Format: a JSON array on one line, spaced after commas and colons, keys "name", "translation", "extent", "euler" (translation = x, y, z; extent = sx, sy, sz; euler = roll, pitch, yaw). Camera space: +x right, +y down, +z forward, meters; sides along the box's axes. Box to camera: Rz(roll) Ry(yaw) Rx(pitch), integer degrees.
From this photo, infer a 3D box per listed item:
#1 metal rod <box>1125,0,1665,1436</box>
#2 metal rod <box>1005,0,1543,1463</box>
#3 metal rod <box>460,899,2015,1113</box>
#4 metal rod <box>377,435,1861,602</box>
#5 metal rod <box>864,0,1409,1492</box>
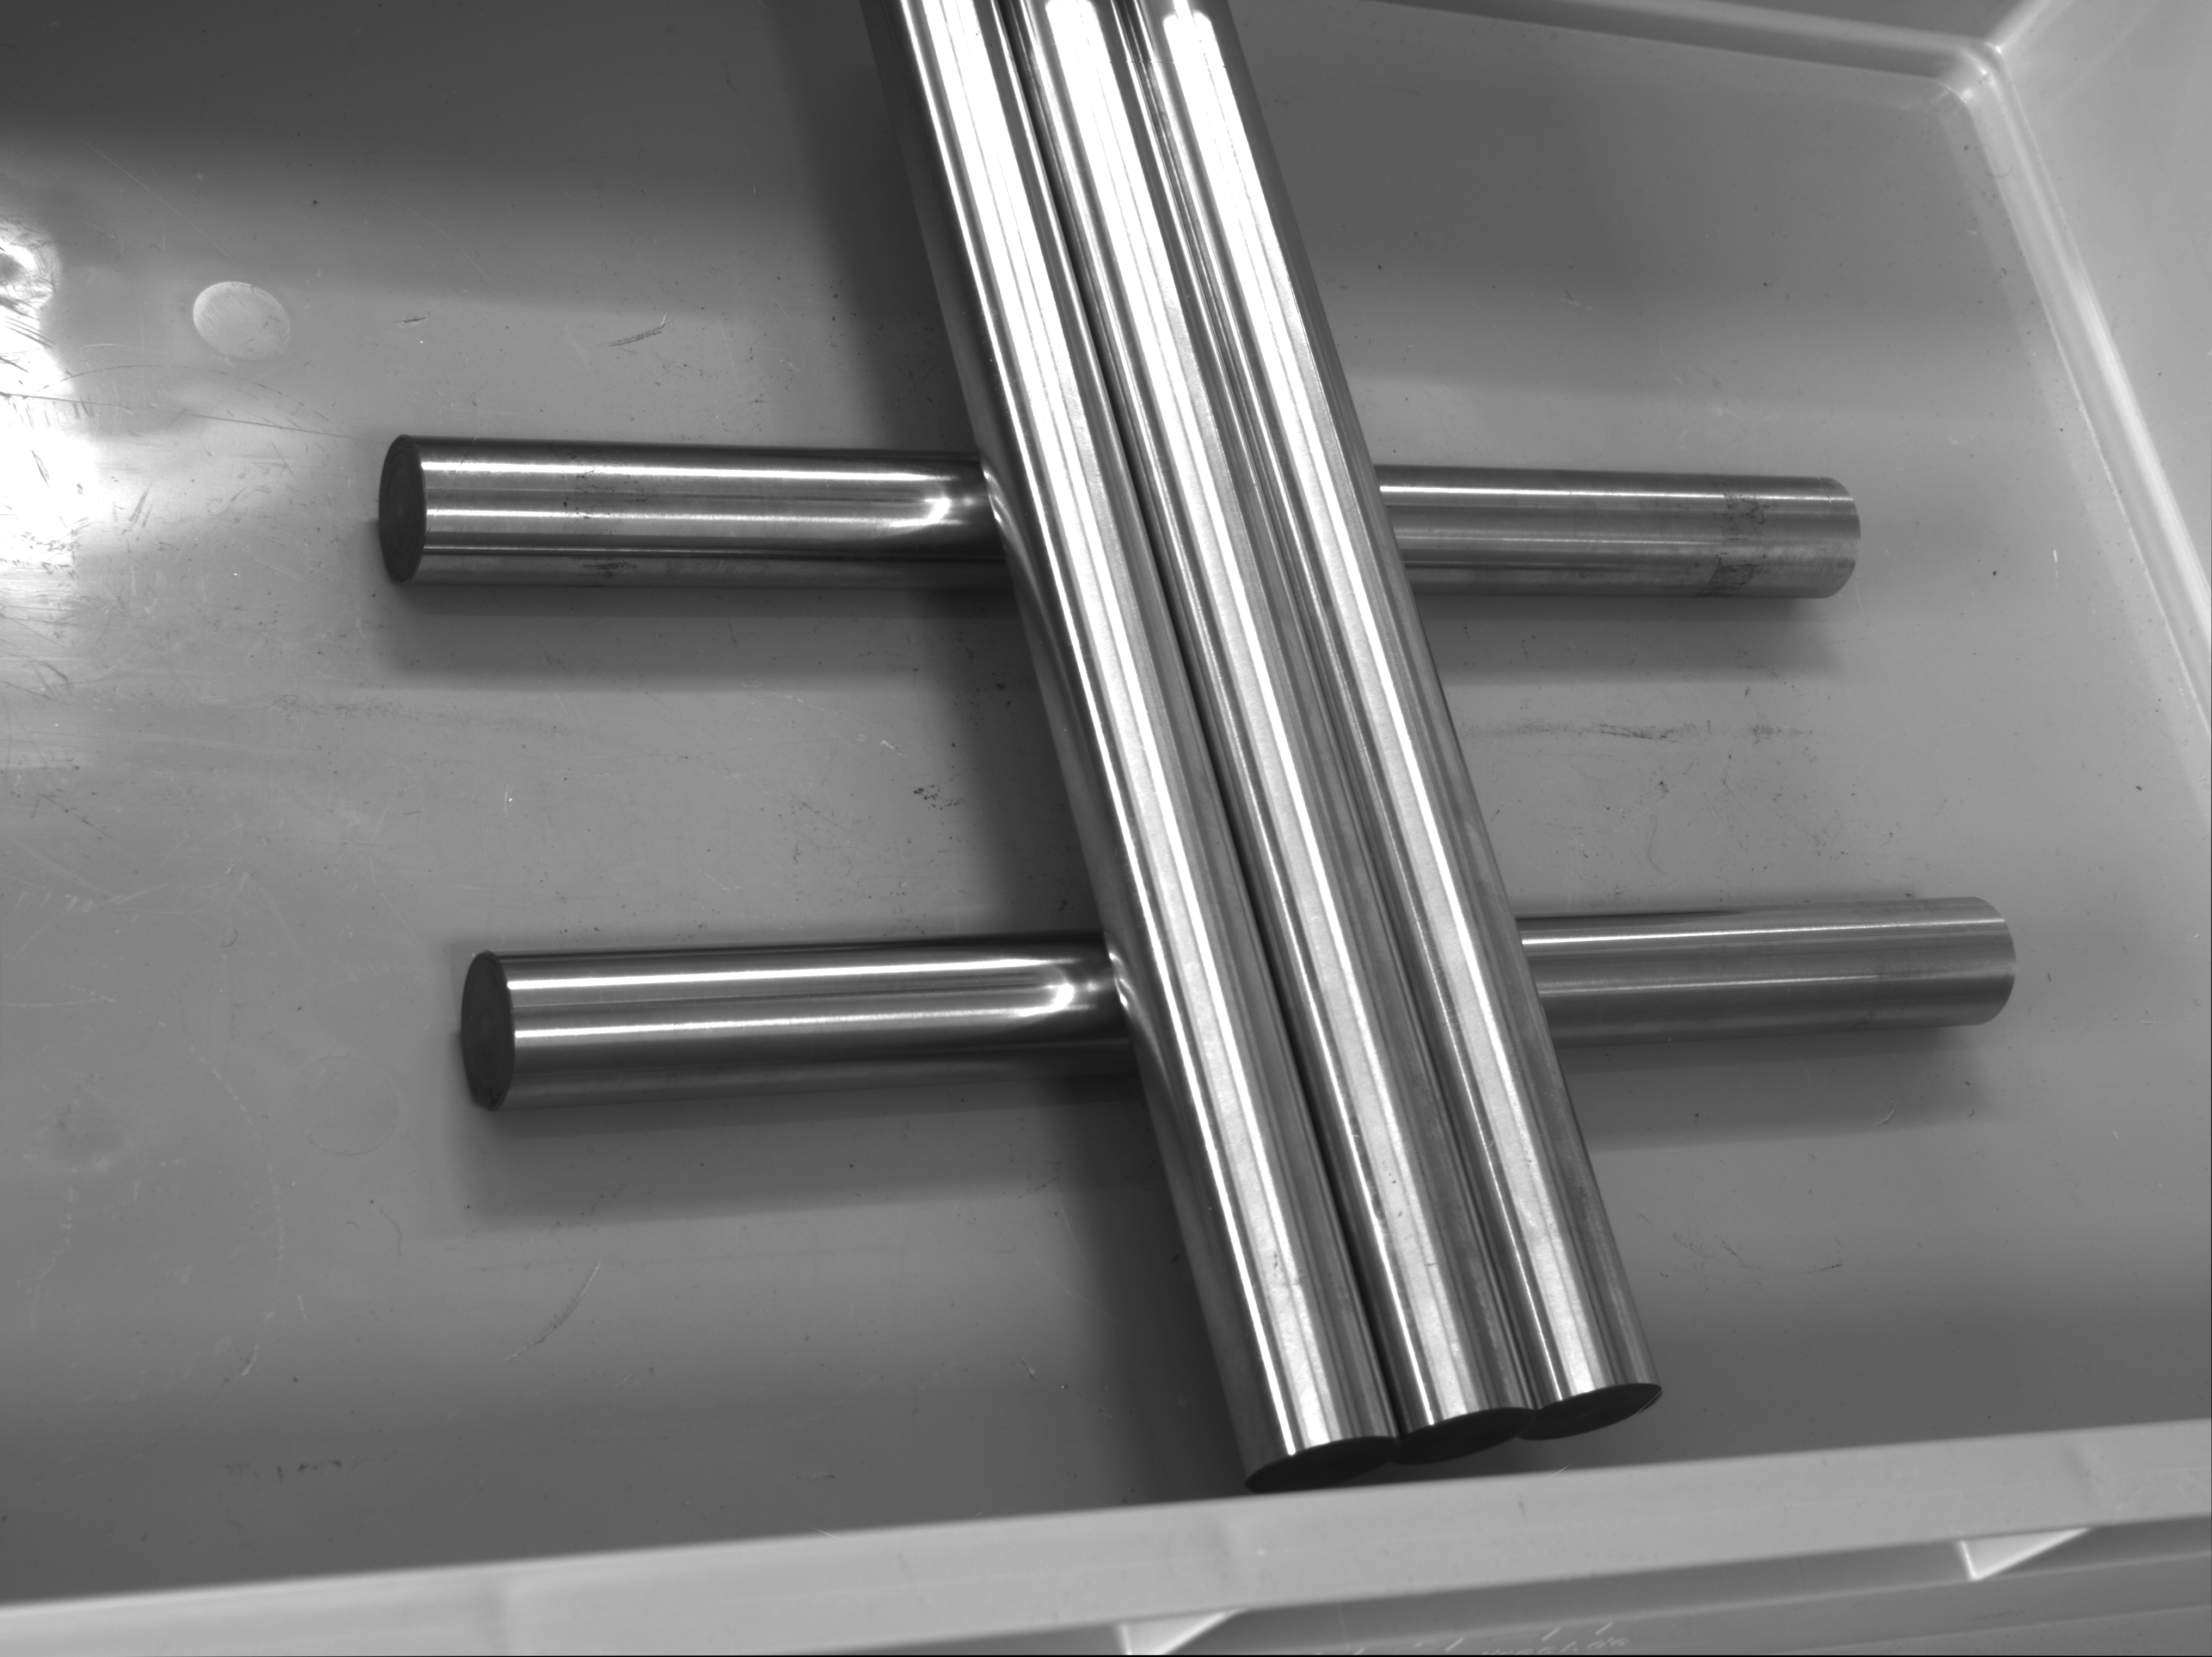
[{"name": "metal rod", "translation": [0.043, -0.039, 0.651], "extent": [0.025, 0.025, 0.300], "euler": [-1, 62, -28]}, {"name": "metal rod", "translation": [0.022, -0.037, 0.638], "extent": [0.025, 0.025, 0.300], "euler": [-1, 62, -28]}, {"name": "metal rod", "translation": [0.036, 0.029, 0.640], "extent": [0.301, 0.025, 0.025], "euler": [-1, 62, -29]}, {"name": "metal rod", "translation": [0.015, -0.056, 0.680], "extent": [0.301, 0.025, 0.025], "euler": [-1, 62, -29]}, {"name": "metal rod", "translation": [-0.001, -0.034, 0.625], "extent": [0.025, 0.025, 0.300], "euler": [-1, 62, -28]}]
